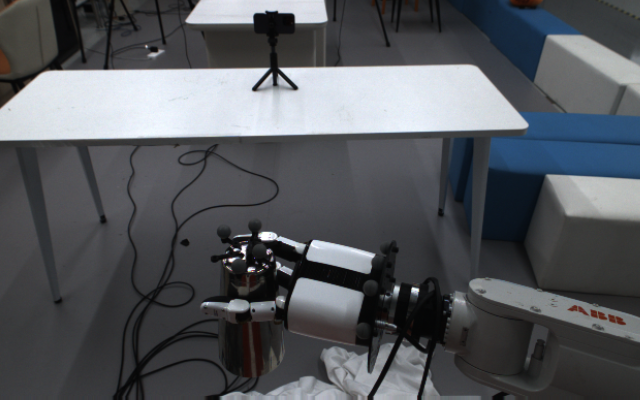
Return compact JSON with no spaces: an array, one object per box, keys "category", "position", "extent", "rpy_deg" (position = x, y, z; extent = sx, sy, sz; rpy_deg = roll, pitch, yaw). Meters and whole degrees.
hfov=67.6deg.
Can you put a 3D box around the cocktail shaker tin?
[{"category":"cocktail shaker tin","position":[-0.090,0.140,0.636],"extent":[0.093,0.170,0.093],"rpy_deg":[2,33,-2]}]
